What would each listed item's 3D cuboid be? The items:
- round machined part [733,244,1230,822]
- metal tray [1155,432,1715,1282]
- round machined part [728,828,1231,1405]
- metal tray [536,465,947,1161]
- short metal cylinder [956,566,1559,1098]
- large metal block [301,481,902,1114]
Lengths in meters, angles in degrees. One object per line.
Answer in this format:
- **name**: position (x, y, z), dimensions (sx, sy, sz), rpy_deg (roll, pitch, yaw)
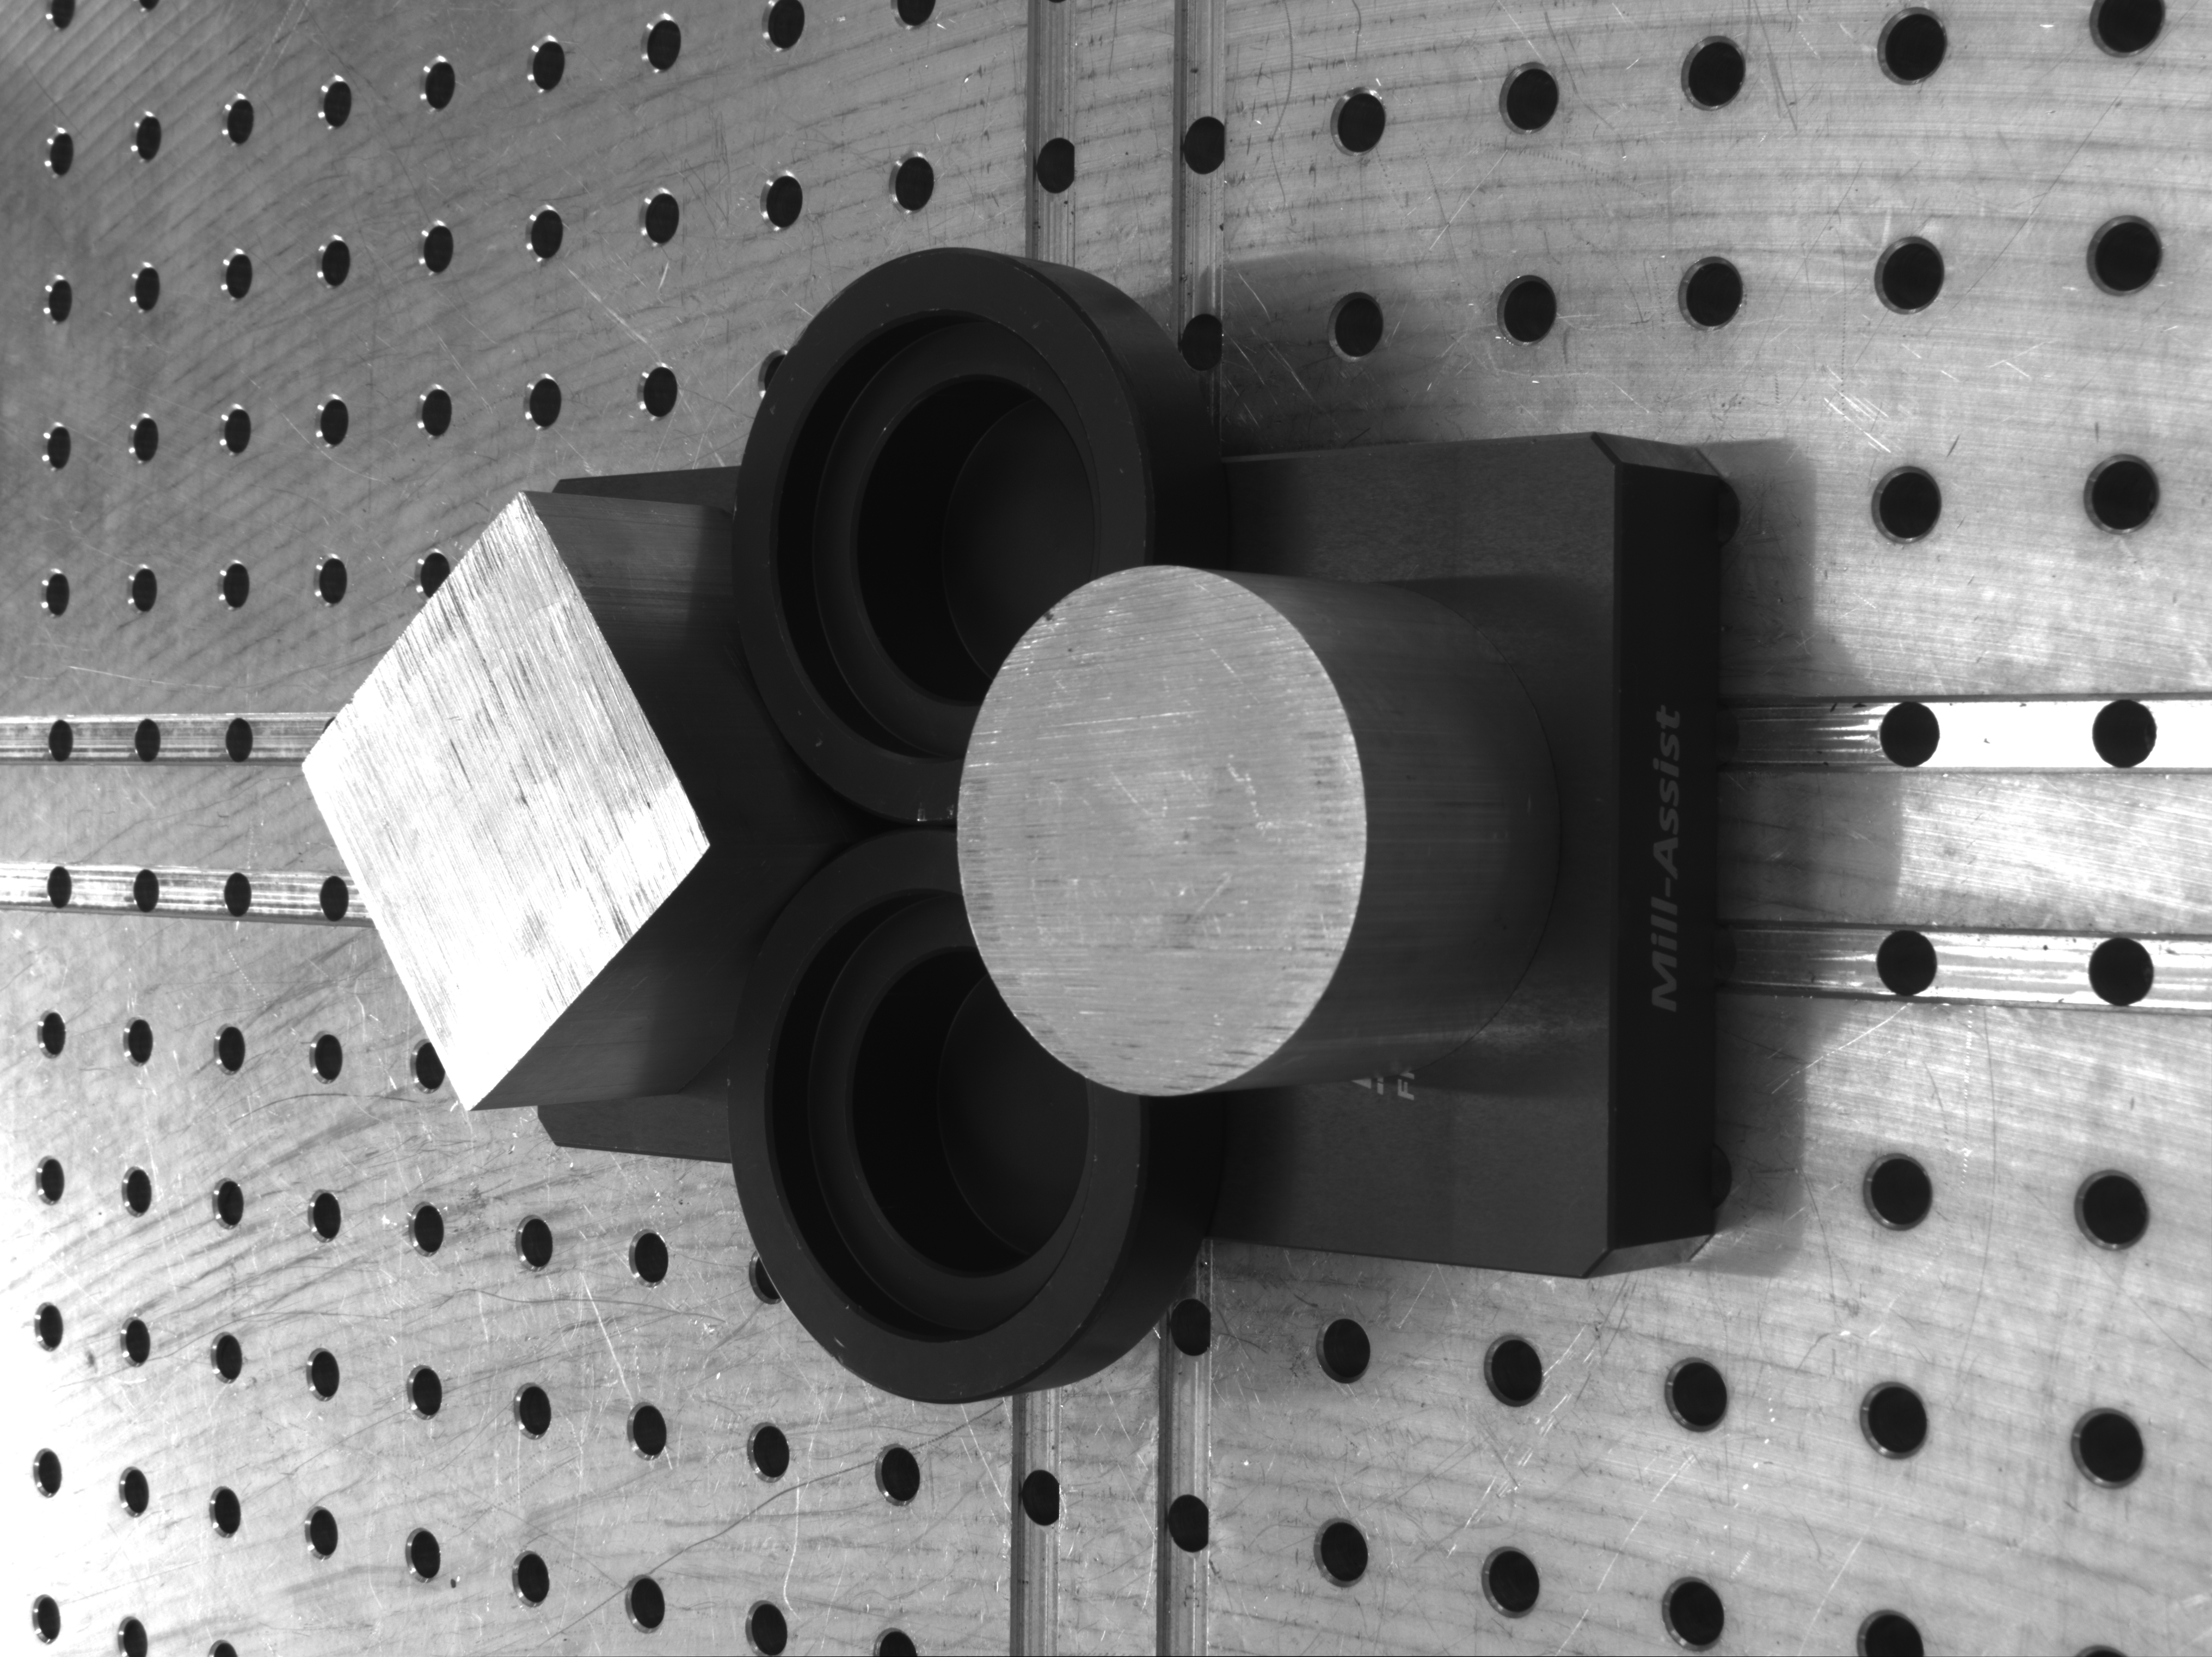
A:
- **round machined part**: position (-0.016, -0.050, 0.639), dimensions (0.098, 0.042, 0.098), rpy_deg (0, 90, 40)
- **metal tray**: position (0.052, 0.004, 0.599), dimensions (0.090, 0.030, 0.130), rpy_deg (1, 91, 40)
- **round machined part**: position (-0.017, 0.049, 0.640), dimensions (0.098, 0.042, 0.098), rpy_deg (0, 90, 40)
- **metal tray**: position (-0.067, -0.003, 0.702), dimensions (0.090, 0.030, 0.130), rpy_deg (1, 90, 39)
- **short metal cylinder**: position (0.023, 0.001, 0.572), dimensions (0.080, 0.050, 0.080), rpy_deg (0, 90, 40)
- **large metal block**: position (-0.092, -0.005, 0.670), dimensions (0.080, 0.050, 0.080), rpy_deg (-45, 63, 31)
